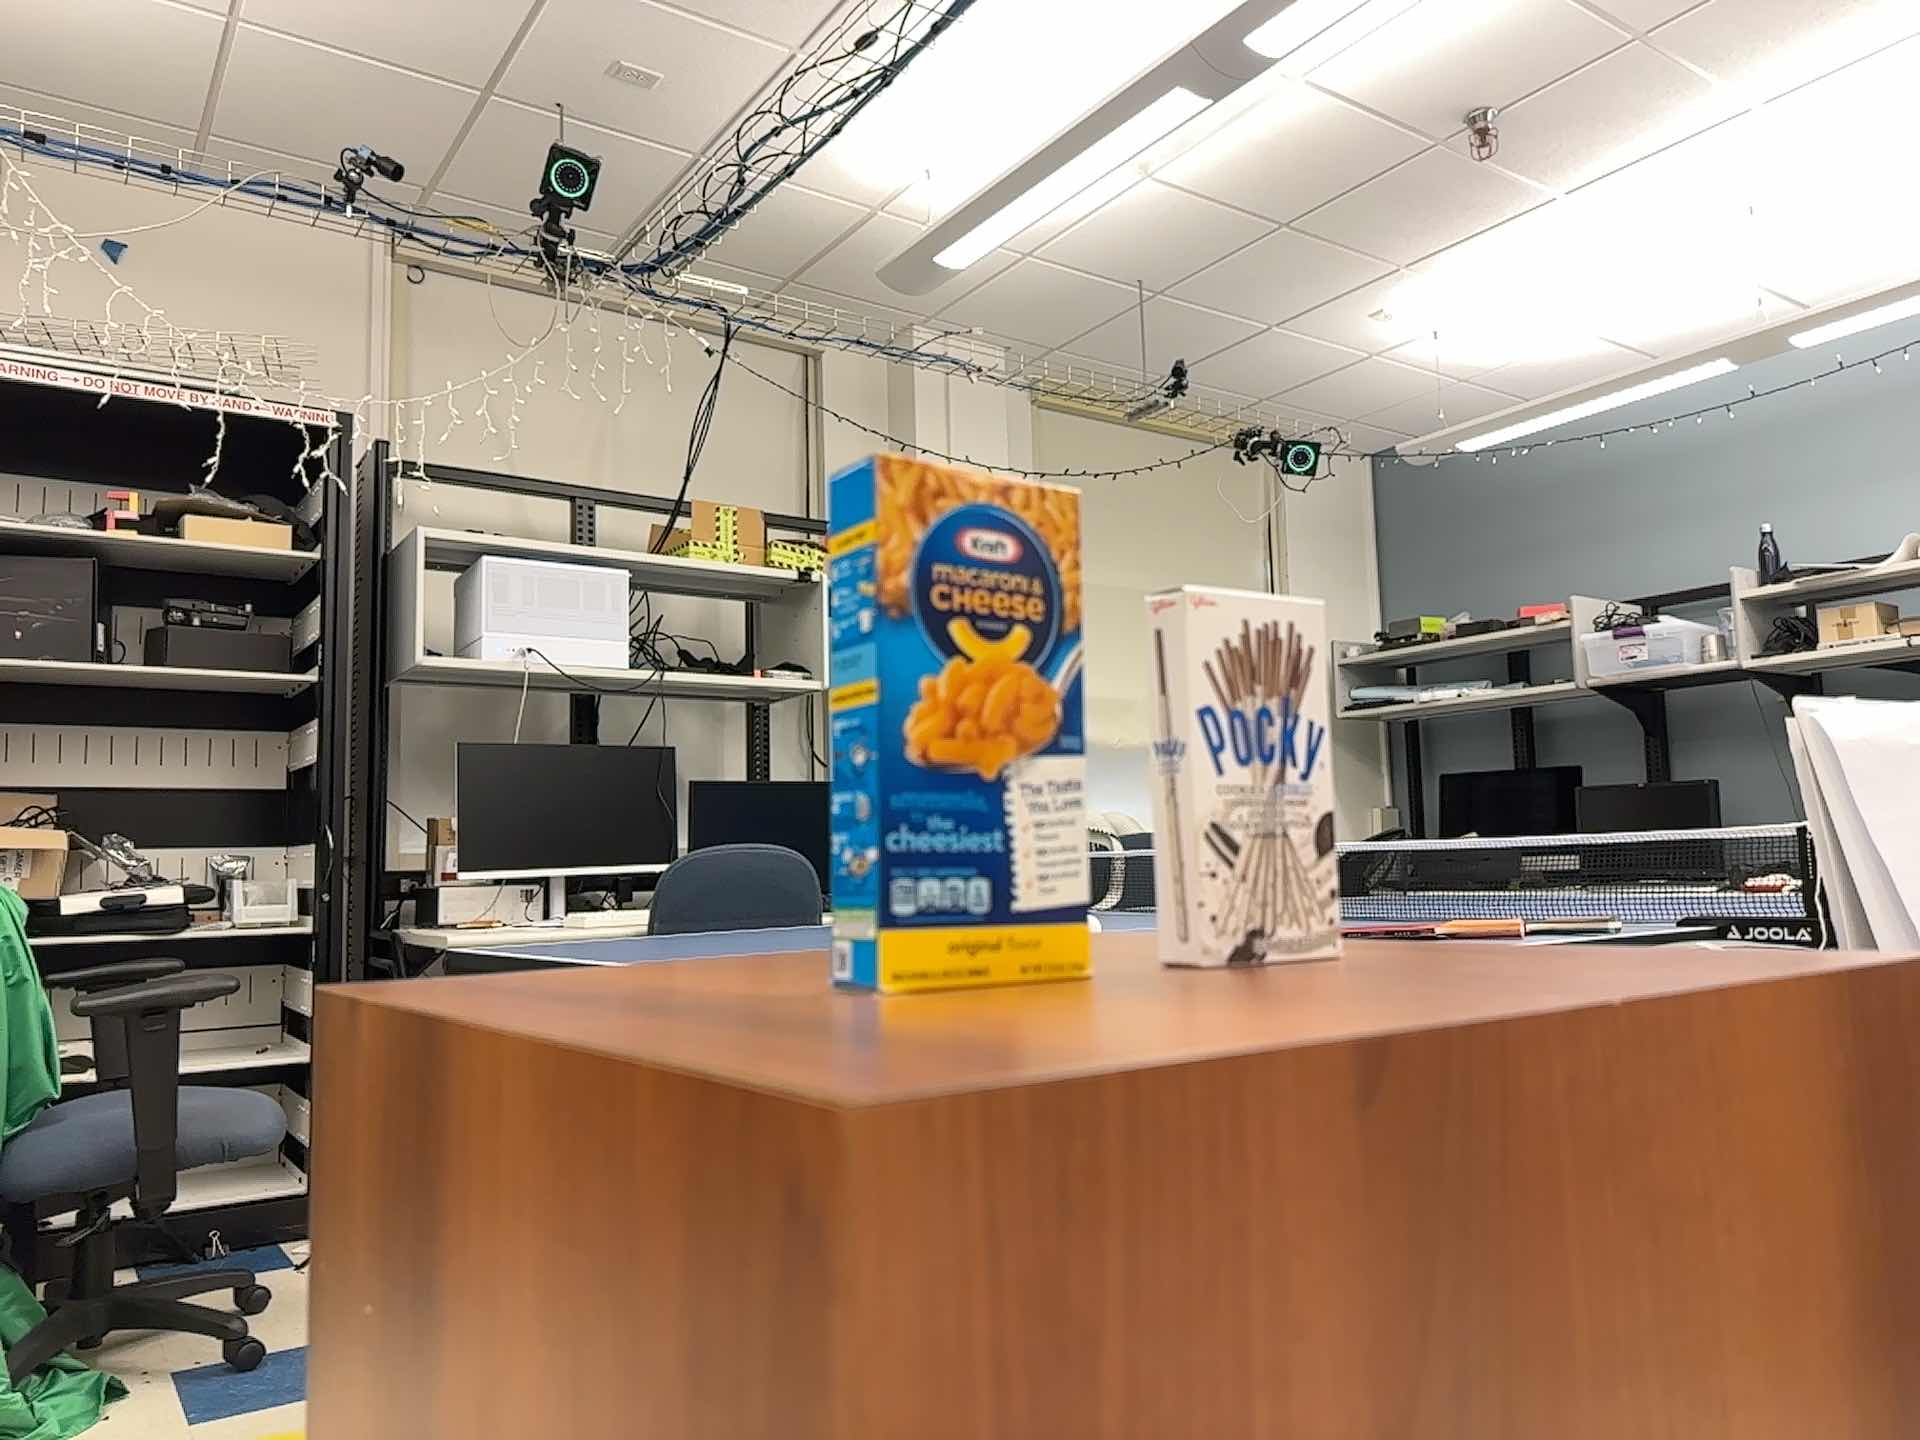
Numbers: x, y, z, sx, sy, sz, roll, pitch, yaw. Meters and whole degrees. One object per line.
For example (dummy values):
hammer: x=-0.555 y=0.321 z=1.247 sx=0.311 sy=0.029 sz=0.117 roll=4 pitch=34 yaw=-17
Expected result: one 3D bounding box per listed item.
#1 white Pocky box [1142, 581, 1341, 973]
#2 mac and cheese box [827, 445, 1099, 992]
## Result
white Pocky box: x=0.115 y=0.024 z=0.549 sx=0.084 sy=0.154 sz=0.028 roll=3 pitch=-7 yaw=-28
mac and cheese box: x=0.001 y=0.001 z=0.483 sx=0.088 sy=0.181 sz=0.035 roll=3 pitch=-8 yaw=-31
